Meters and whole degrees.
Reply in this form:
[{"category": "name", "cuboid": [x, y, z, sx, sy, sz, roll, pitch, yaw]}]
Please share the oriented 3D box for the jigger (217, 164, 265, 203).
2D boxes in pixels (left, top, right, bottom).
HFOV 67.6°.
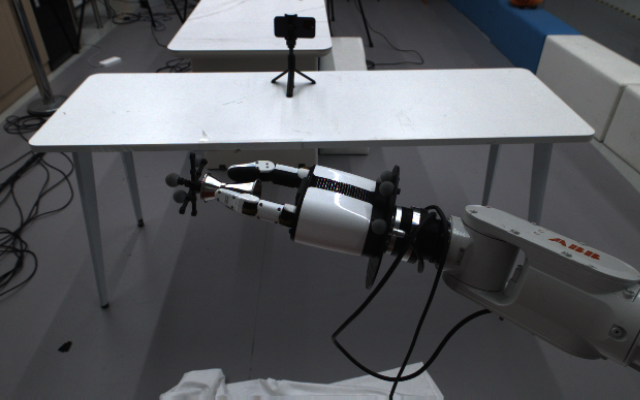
[{"category": "jigger", "cuboid": [-0.105, -0.016, 0.623, 0.071, 0.043, 0.043, 8, 35, 6]}]
